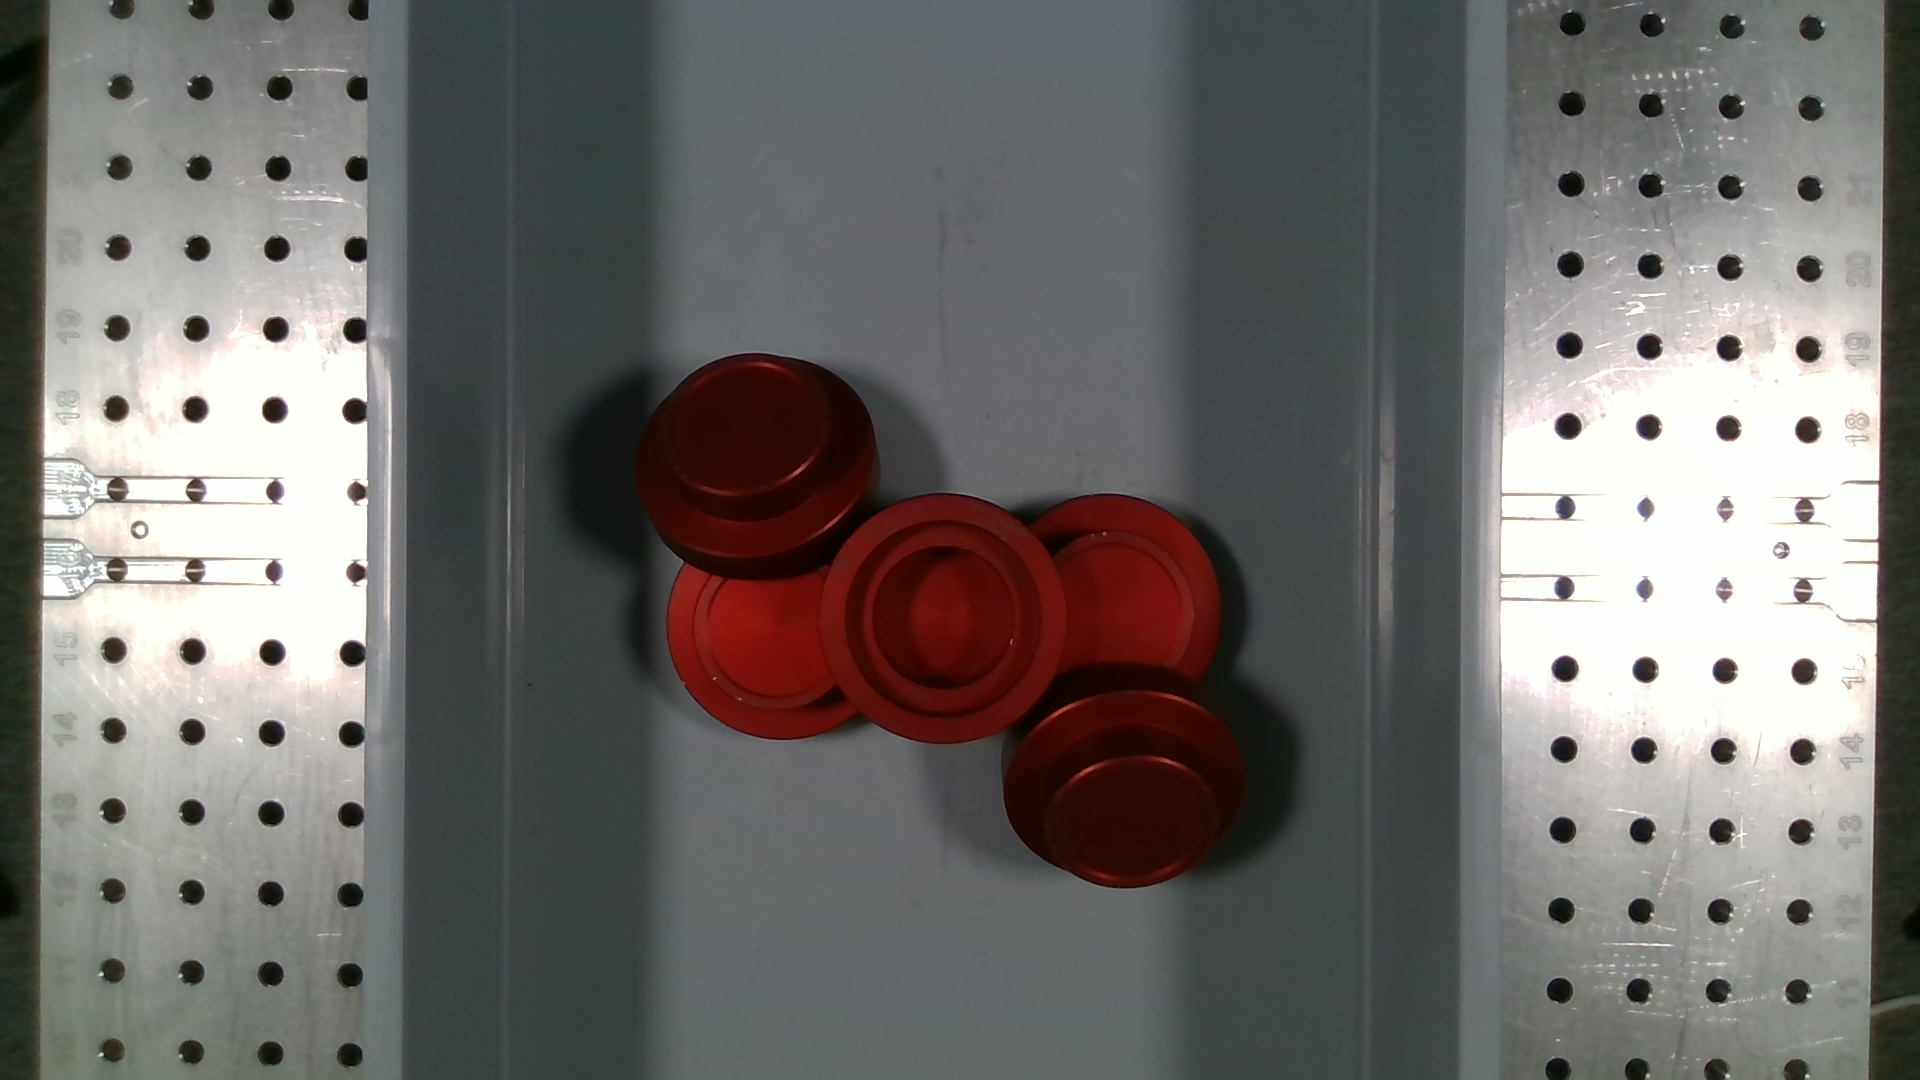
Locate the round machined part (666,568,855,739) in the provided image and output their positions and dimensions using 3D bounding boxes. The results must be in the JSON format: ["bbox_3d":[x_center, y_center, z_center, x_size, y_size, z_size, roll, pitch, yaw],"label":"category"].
[{"bbox_3d":[-0.075,0.035,0.577,0.098,0.042,0.098,0,90,0],"label":"round machined part"}]

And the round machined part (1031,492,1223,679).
[{"bbox_3d":[0.061,0.029,0.577,0.098,0.042,0.098,0,90,0],"label":"round machined part"}]

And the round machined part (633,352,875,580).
[{"bbox_3d":[-0.084,-0.036,0.556,0.098,0.042,0.098,-2,61,3],"label":"round machined part"}]

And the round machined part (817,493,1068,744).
[{"bbox_3d":[-0.007,0.030,0.556,0.098,0.042,0.098,0,90,0],"label":"round machined part"}]

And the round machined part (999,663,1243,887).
[{"bbox_3d":[0.066,0.101,0.557,0.098,0.042,0.098,-1,121,-2],"label":"round machined part"}]
